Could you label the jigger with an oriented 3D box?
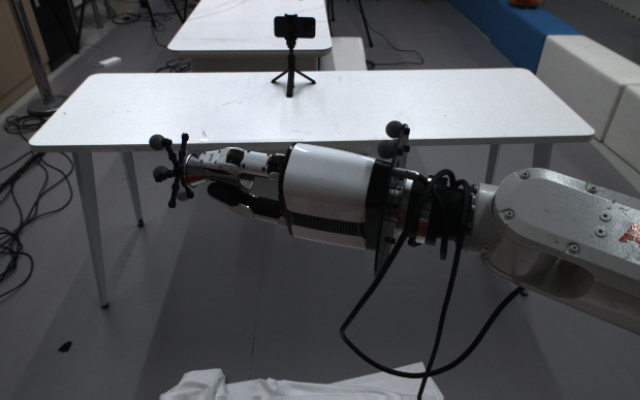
[{"bbox_3d":[-0.105,-0.034,0.546,0.071,0.043,0.043,3,34,14],"label":"jigger"}]
